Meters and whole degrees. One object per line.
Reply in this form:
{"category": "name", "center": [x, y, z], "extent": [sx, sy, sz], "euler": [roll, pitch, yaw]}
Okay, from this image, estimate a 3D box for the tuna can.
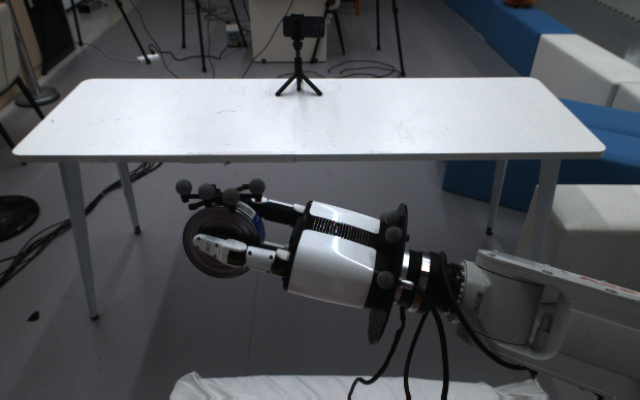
{"category": "tuna can", "center": [-0.102, 0.046, 0.533], "extent": [0.085, 0.085, 0.034], "euler": [4, 18, 3]}
